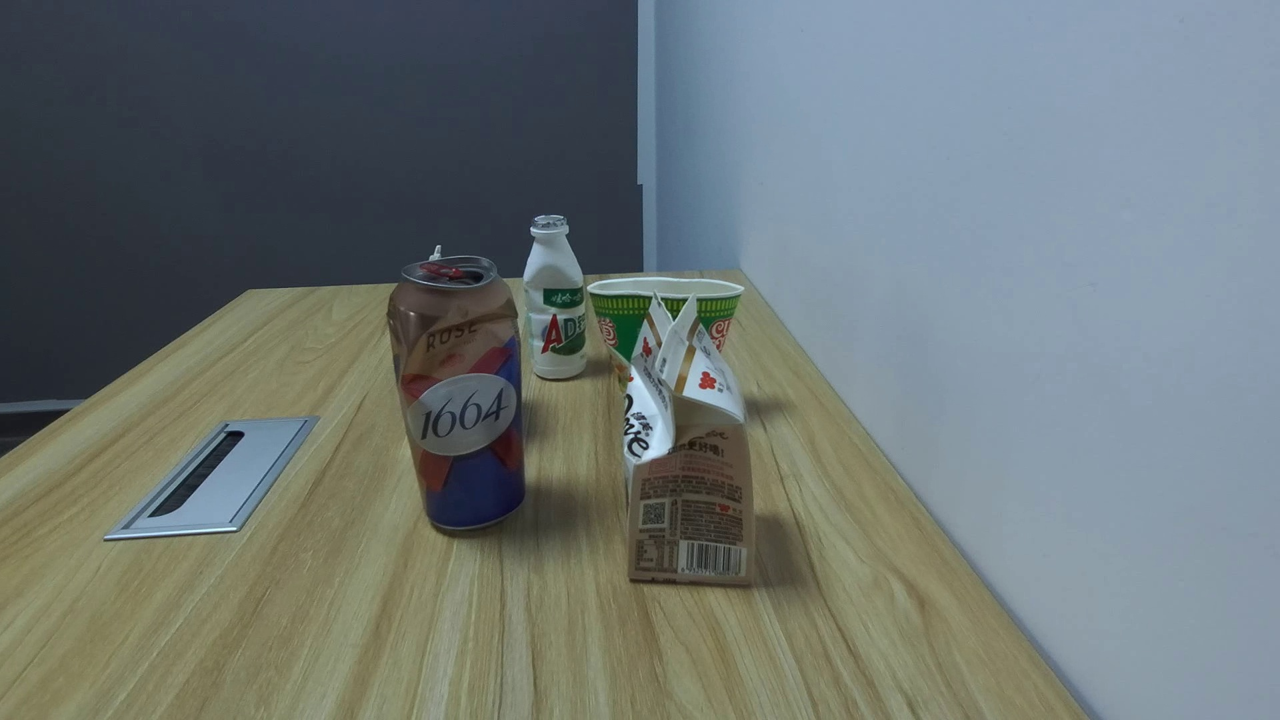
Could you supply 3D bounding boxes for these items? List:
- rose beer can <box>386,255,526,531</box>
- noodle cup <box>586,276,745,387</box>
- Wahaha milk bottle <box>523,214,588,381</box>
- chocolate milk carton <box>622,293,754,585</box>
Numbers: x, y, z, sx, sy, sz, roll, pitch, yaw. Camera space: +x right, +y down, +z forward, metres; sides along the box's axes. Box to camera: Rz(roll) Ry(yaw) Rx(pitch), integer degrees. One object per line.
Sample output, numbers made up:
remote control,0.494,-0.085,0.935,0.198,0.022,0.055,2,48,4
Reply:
rose beer can,-0.110,0.024,0.440,0.076,0.167,0.065,-10,26,-25
noodle cup,0.020,-0.013,0.592,0.114,0.111,0.070,14,32,29
Wahaha milk bottle,-0.078,-0.056,0.650,0.056,0.148,0.056,0,22,0
chocolate milk carton,0.027,0.041,0.400,0.073,0.156,0.076,-1,24,6
